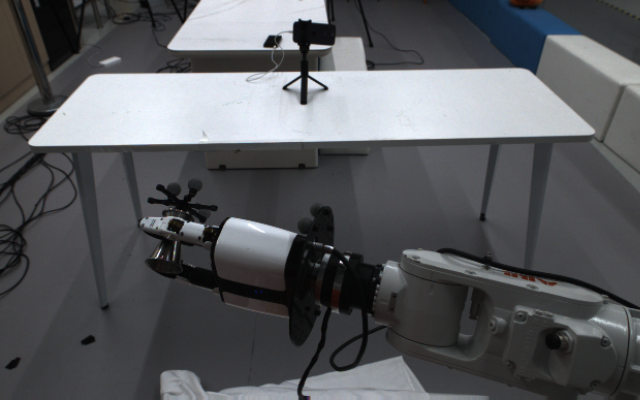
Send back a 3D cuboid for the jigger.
[{"bbox_3d":[-0.182,0.049,0.586,0.043,0.043,0.071,6,60,6],"label":"jigger"}]
